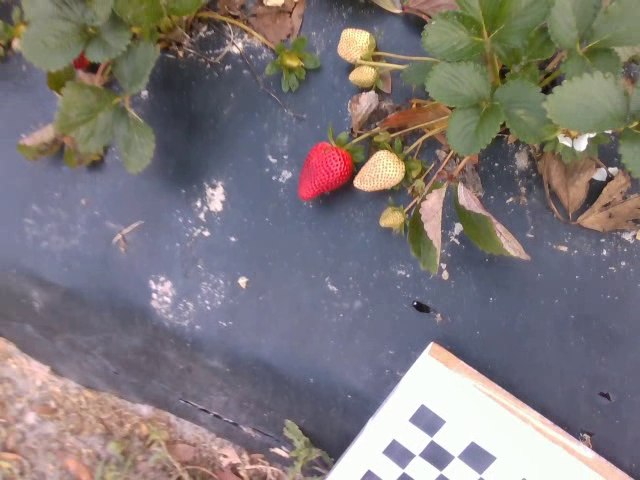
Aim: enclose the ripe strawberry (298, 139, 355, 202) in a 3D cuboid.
[{"bbox_3d":[0.002,-0.054,0.514,0.050,0.059,0.034,26,-17,17],"label":"ripe strawberry"}]
